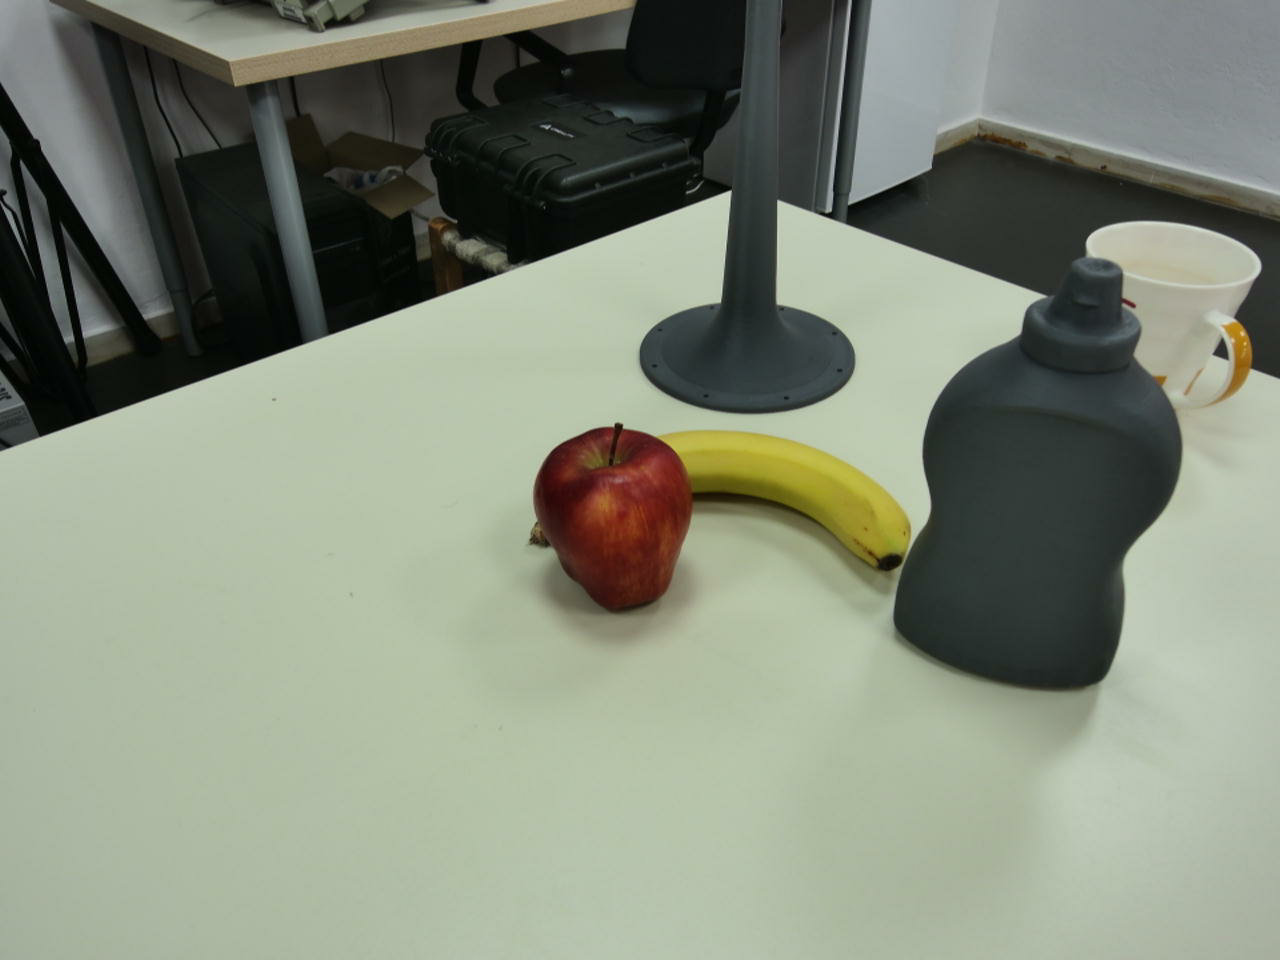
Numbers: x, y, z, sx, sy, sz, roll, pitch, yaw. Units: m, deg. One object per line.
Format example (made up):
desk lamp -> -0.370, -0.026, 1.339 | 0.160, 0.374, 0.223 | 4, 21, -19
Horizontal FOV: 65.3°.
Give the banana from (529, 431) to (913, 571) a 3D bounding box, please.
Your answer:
banana -> 0.046, 0.006, 0.547 | 0.196, 0.041, 0.094 | 8, 37, 12
